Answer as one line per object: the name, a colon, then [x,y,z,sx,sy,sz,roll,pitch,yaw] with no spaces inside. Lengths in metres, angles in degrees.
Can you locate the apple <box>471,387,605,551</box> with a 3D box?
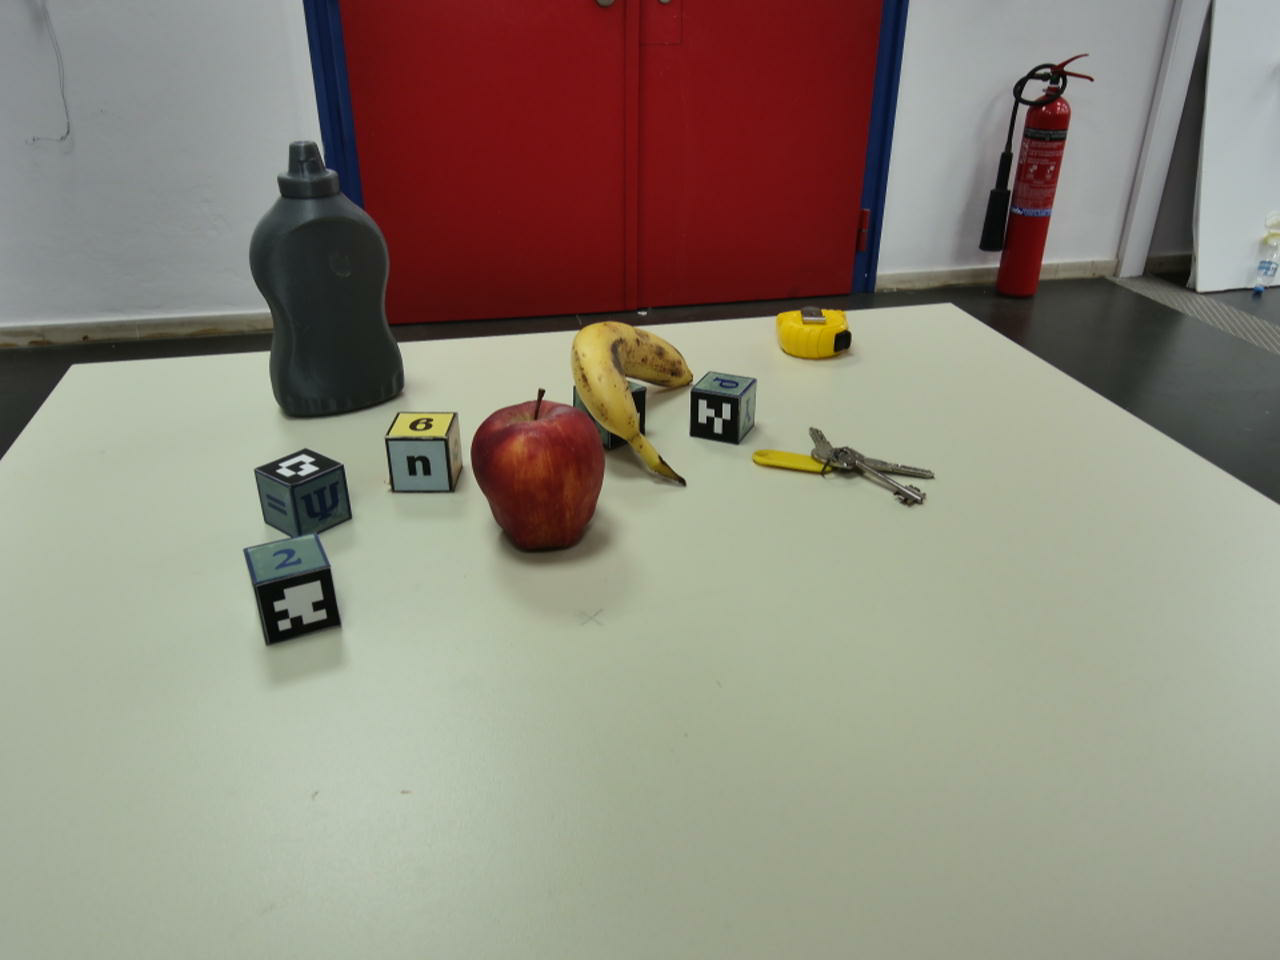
apple: [-0.059,-0.009,0.574,0.083,0.090,0.083,0,26,0]
